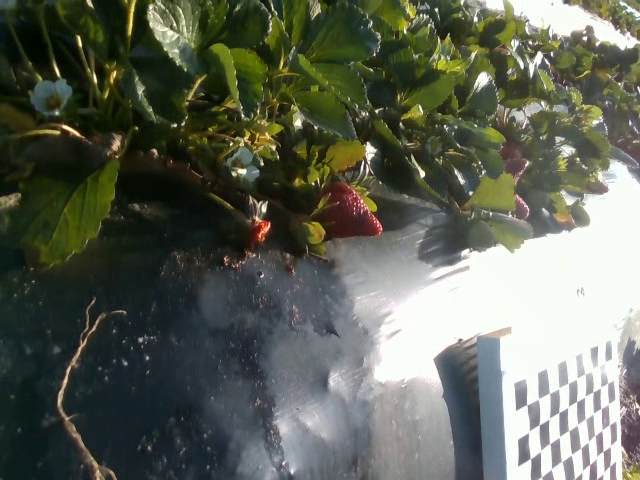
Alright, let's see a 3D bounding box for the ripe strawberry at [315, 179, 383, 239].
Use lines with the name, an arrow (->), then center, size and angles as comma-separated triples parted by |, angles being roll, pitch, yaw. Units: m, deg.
ripe strawberry -> 0.024, -0.017, 0.427 | 0.051, 0.041, 0.052 | 26, 46, 22
